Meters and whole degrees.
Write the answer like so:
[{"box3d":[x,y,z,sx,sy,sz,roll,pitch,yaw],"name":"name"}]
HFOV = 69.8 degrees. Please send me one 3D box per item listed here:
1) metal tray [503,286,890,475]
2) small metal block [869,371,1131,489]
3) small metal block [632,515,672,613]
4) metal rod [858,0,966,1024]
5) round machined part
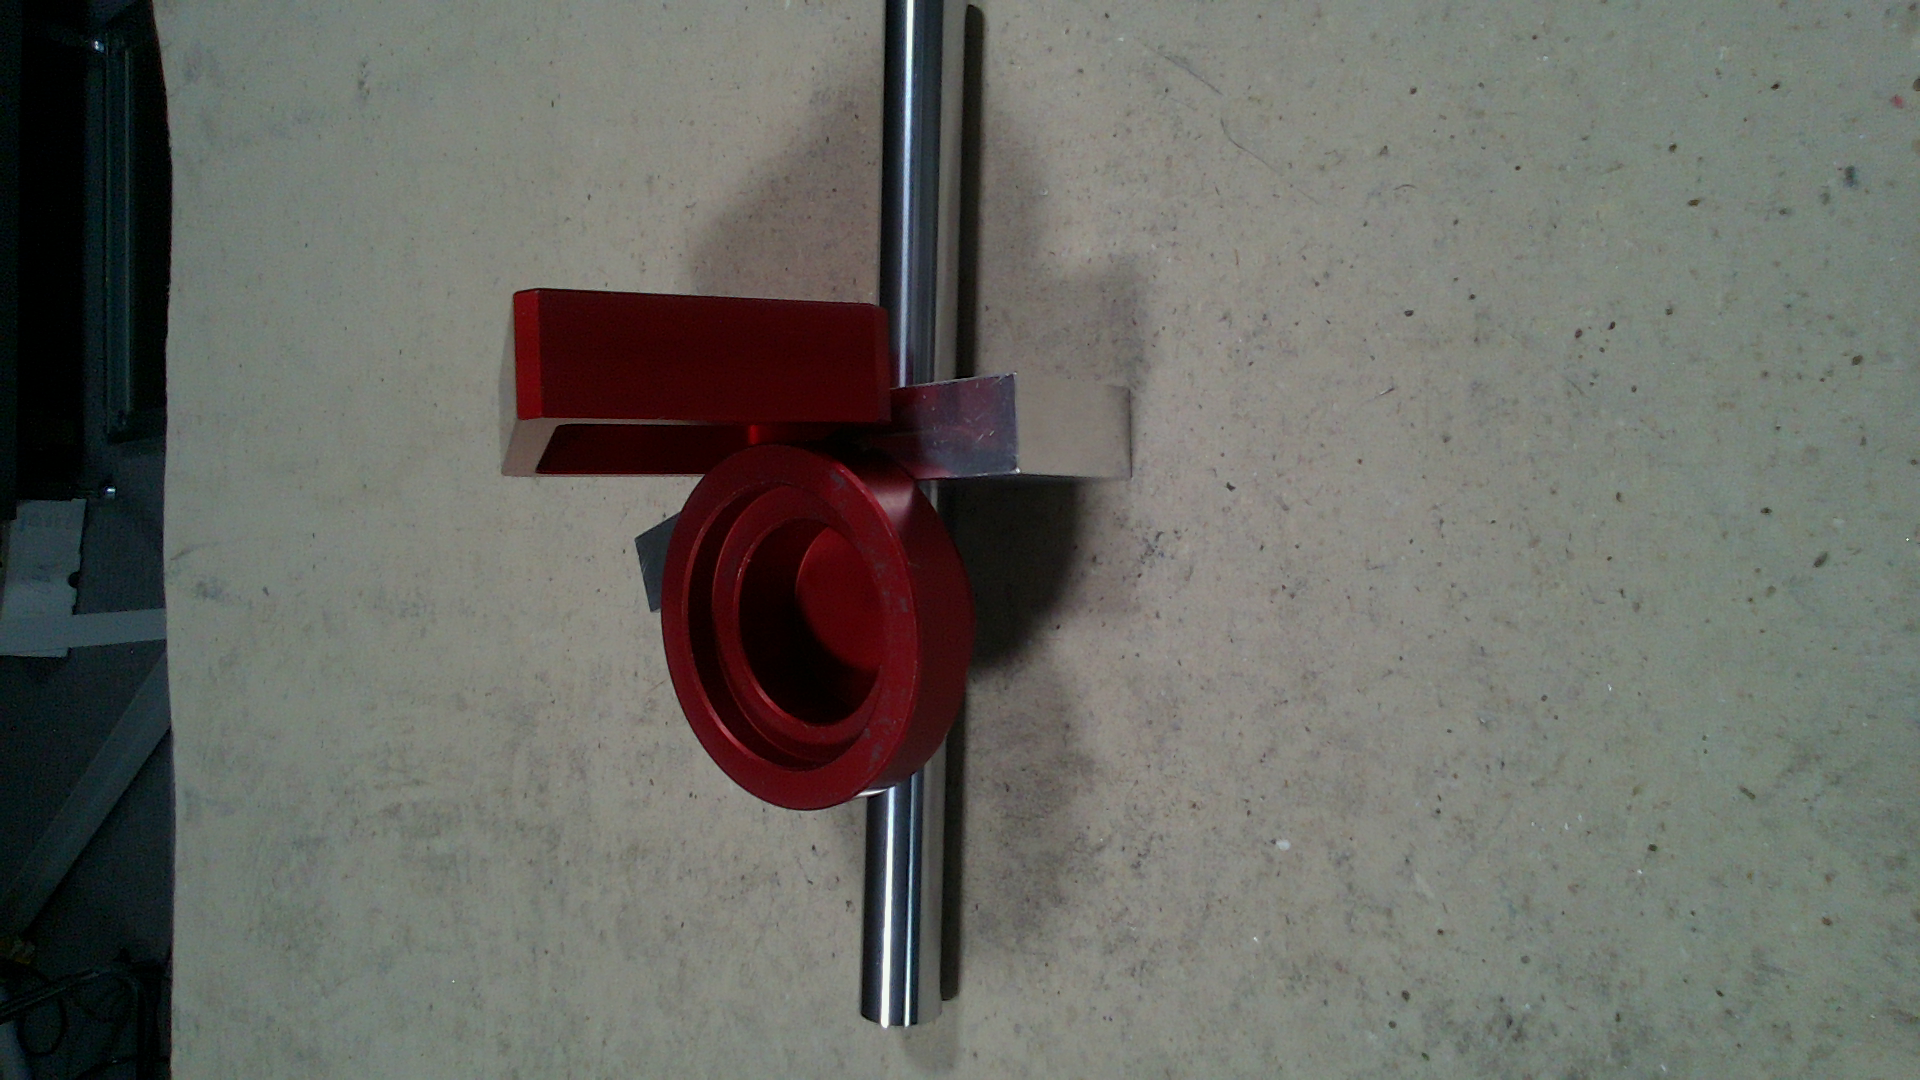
[{"box3d":[-0.081,-0.040,0.390,0.130,0.090,0.030,169,100,-69],"name":"metal tray"},{"box3d":[0.011,-0.028,0.369,0.050,0.050,0.025,-2,89,40],"name":"small metal block"},{"box3d":[-0.066,0.003,0.434,0.050,0.050,0.025,-25,74,37],"name":"small metal block"},{"box3d":[-0.014,-0.010,0.407,0.025,0.025,0.300,3,92,40],"name":"metal rod"},{"box3d":[-0.036,0.021,0.377,0.098,0.042,0.098,3,95,38],"name":"round machined part"}]
